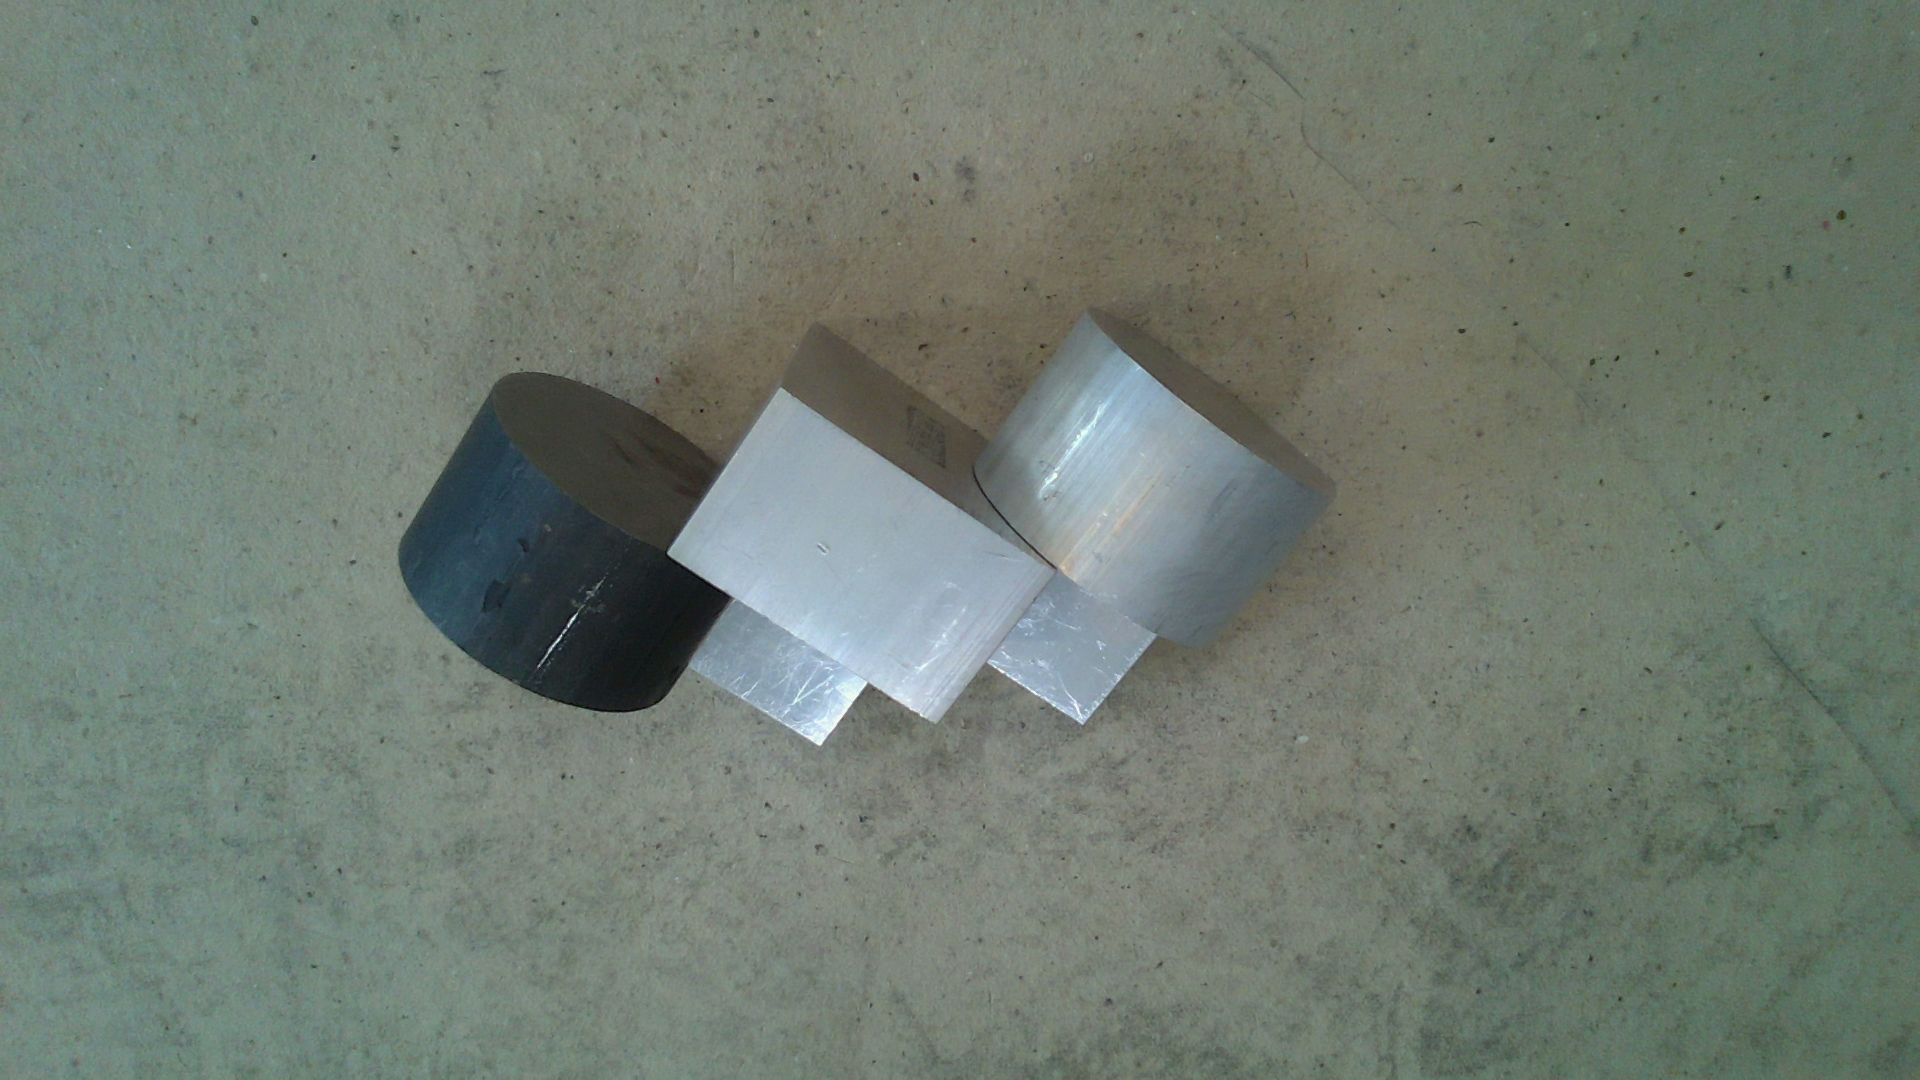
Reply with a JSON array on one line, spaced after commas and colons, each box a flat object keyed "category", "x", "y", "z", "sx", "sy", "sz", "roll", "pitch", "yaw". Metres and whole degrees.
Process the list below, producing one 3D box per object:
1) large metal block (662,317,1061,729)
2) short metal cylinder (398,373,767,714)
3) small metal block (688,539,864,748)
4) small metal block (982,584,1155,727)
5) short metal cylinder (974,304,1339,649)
[{"category": "large metal block", "x": -0.023, "y": -0.008, "z": 0.363, "sx": 0.080, "sy": 0.080, "sz": 0.050, "roll": 33, "pitch": 107, "yaw": -12}, {"category": "short metal cylinder", "x": -0.098, "y": 0.000, "z": 0.364, "sx": 0.080, "sy": 0.080, "sz": 0.050, "roll": 33, "pitch": 107, "yaw": -12}, {"category": "small metal block", "x": -0.048, "y": 0.024, "z": 0.403, "sx": 0.050, "sy": 0.025, "sz": 0.050, "roll": 33, "pitch": 107, "yaw": -12}, {"category": "small metal block", "x": 0.030, "y": 0.018, "z": 0.401, "sx": 0.050, "sy": 0.025, "sz": 0.050, "roll": 33, "pitch": 107, "yaw": -12}, {"category": "short metal cylinder", "x": 0.051, "y": -0.017, "z": 0.359, "sx": 0.080, "sy": 0.080, "sz": 0.050, "roll": 34, "pitch": 107, "yaw": -12}]
